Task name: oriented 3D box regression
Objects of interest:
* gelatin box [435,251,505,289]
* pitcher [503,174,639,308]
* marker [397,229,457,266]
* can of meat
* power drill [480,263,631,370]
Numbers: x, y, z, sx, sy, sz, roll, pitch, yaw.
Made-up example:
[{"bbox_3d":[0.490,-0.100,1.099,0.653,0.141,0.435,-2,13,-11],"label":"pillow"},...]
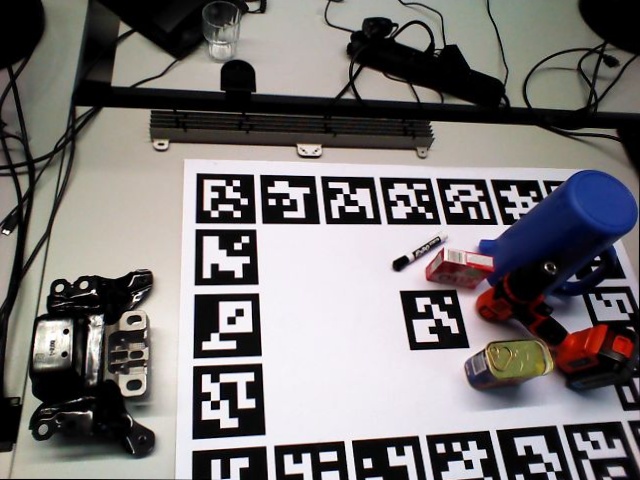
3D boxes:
[{"bbox_3d":[0.244,0.050,0.848,0.089,0.073,0.030,11,66,-6],"label":"gelatin box"},{"bbox_3d":[0.398,0.012,0.805,0.189,0.243,0.132,27,65,11],"label":"pitcher"},{"bbox_3d":[0.183,0.012,0.884,0.120,0.020,0.019,-25,71,-19],"label":"marker"},{"bbox_3d":[0.285,0.192,0.774,0.102,0.084,0.057,-1,62,-11],"label":"can of meat"},{"bbox_3d":[0.355,0.114,0.772,0.187,0.185,0.057,34,65,1],"label":"power drill"}]
